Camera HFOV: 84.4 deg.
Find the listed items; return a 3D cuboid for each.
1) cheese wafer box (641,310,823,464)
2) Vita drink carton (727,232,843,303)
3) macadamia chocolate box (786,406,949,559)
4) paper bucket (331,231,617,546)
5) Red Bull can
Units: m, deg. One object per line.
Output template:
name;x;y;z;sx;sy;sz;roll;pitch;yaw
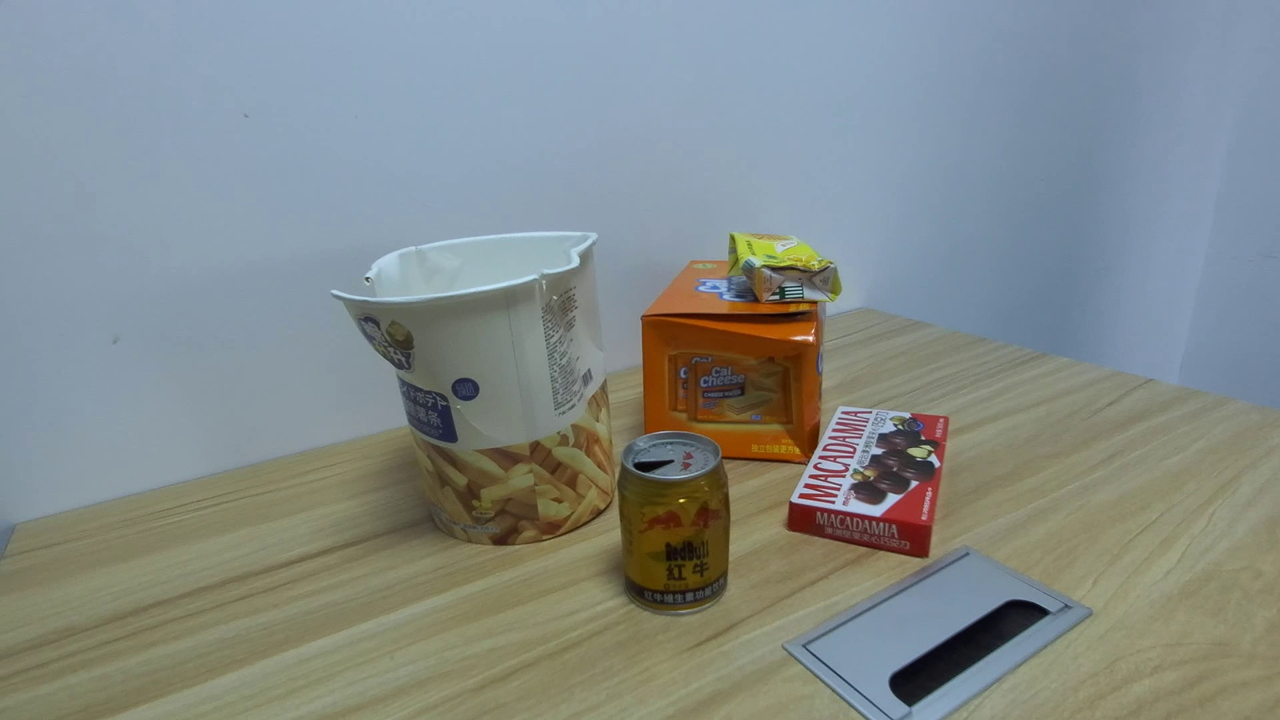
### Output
cheese wafer box;0.098;-0.010;0.673;0.149;0.137;0.227;3;20;14
Vita drink carton;0.121;-0.079;0.619;0.087;0.042;0.108;2;21;-8
macadamia chocolate box;0.182;0.084;0.545;0.095;0.027;0.178;6;21;26
paper bucket;-0.100;0.016;0.529;0.146;0.197;0.202;-4;19;4
Red Bull can;0.021;0.096;0.430;0.068;0.093;0.068;-3;20;1
